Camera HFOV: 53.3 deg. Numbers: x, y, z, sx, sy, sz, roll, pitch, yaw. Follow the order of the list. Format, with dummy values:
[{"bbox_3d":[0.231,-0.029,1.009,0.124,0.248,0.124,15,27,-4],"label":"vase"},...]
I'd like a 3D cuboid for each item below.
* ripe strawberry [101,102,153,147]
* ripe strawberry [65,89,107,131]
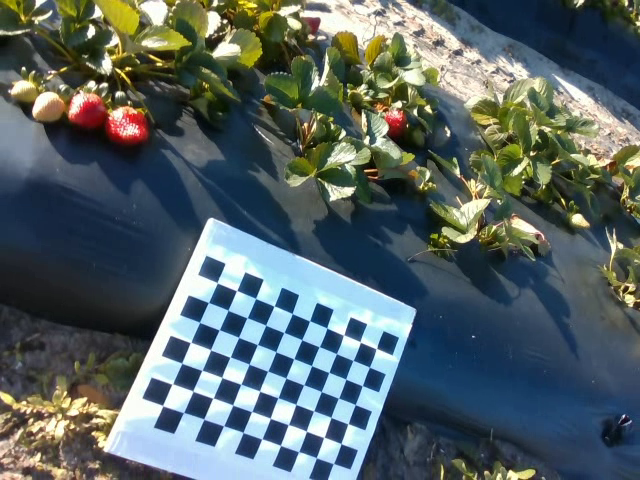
[{"bbox_3d":[-0.219,-0.132,0.731,0.056,0.052,0.067,-29,42,-21],"label":"ripe strawberry"},{"bbox_3d":[-0.268,-0.151,0.719,0.043,0.051,0.061,-35,15,25],"label":"ripe strawberry"}]
